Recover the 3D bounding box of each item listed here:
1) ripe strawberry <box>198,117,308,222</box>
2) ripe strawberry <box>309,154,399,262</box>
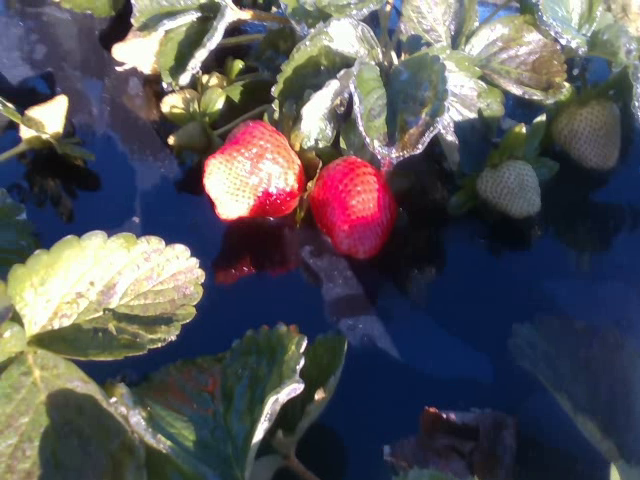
[{"bbox_3d":[-0.035,-0.032,0.315,0.052,0.070,0.040,40,-26,7],"label":"ripe strawberry"},{"bbox_3d":[0.016,-0.021,0.301,0.043,0.059,0.040,-6,-28,-5],"label":"ripe strawberry"}]
